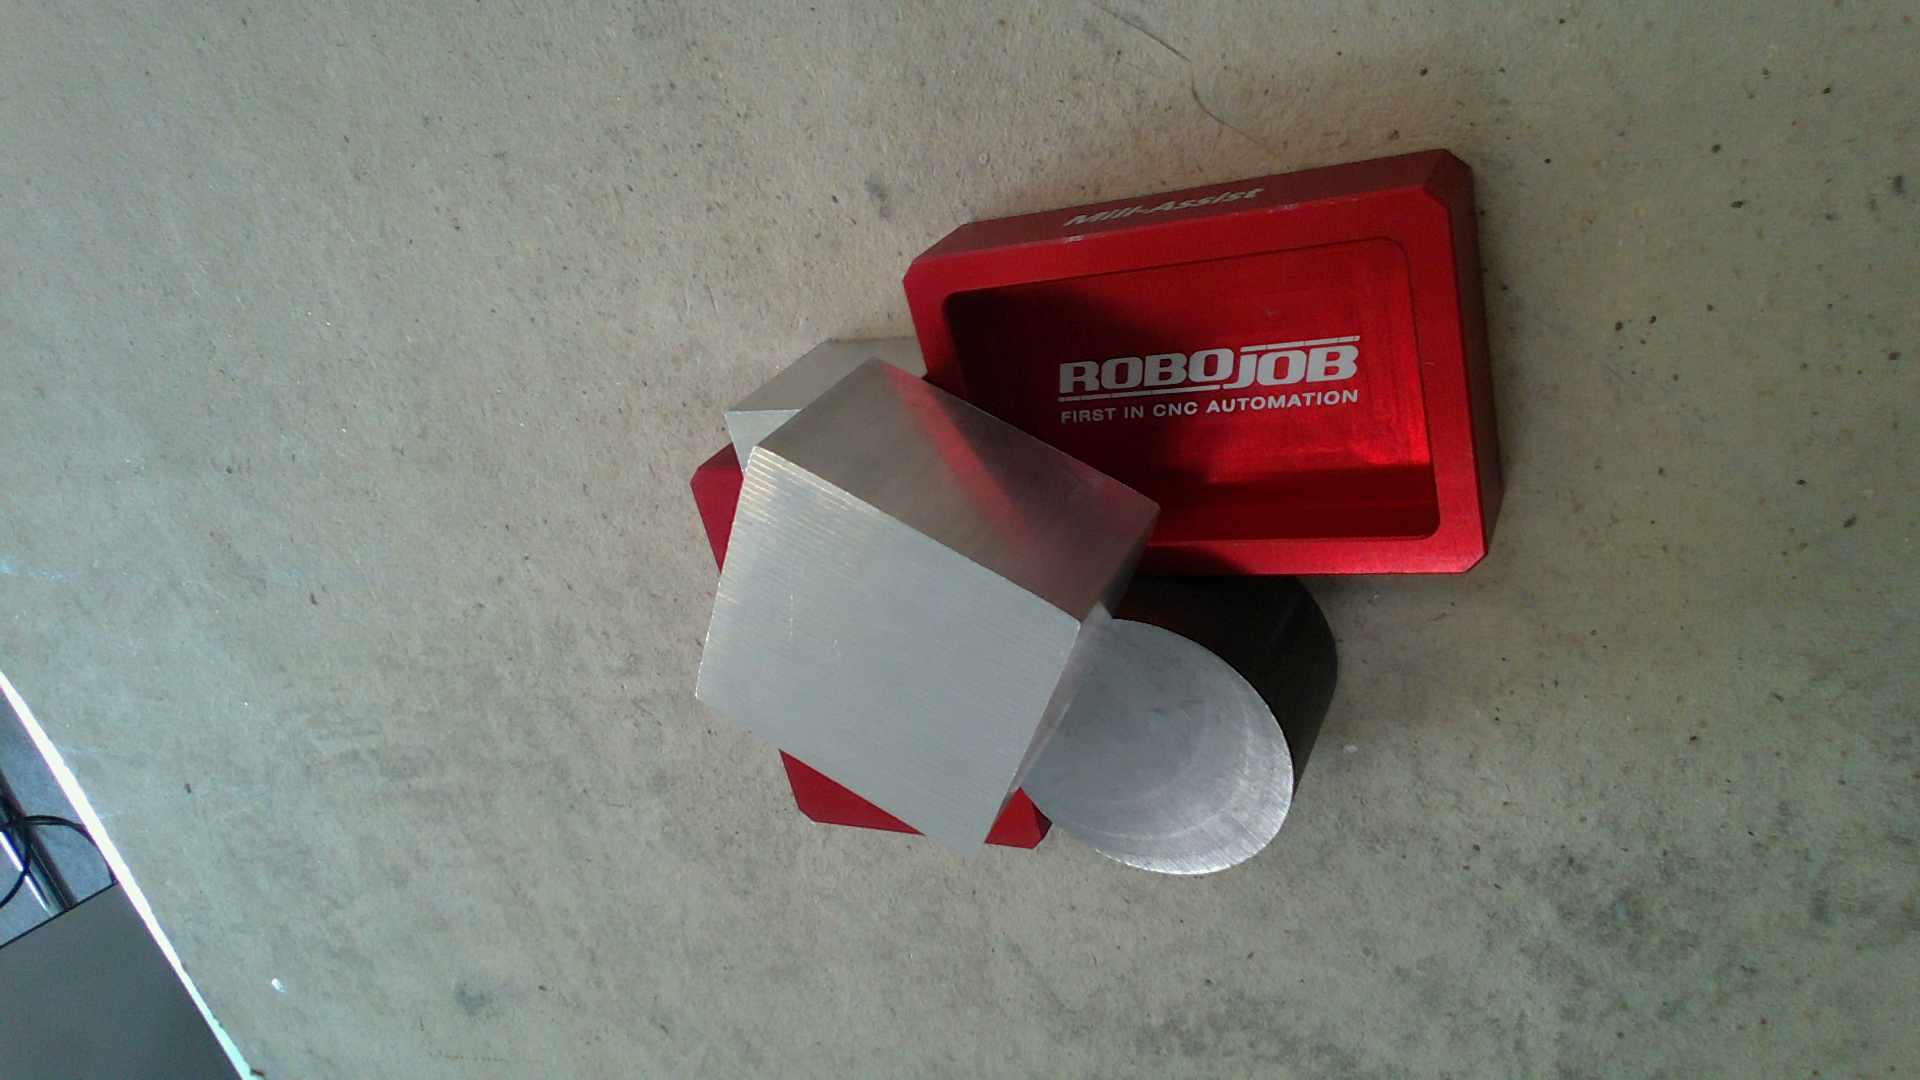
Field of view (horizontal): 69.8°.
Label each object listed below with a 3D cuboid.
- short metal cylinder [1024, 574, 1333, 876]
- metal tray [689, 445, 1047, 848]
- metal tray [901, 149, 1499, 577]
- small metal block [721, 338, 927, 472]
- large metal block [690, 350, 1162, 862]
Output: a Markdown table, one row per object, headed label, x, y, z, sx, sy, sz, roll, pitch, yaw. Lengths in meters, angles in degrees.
| label | x | y | z | sx | sy | sz | roll | pitch | yaw |
| --- | --- | --- | --- | --- | --- | --- | --- | --- | --- |
| short metal cylinder | 0.056 | 0.043 | 0.373 | 0.080 | 0.050 | 0.080 | 14 | 125 | 21 |
| metal tray | -0.021 | 0.030 | 0.421 | 0.090 | 0.030 | 0.130 | 1 | 119 | 28 |
| metal tray | 0.058 | -0.037 | 0.335 | 0.130 | 0.030 | 0.090 | -2 | 118 | 29 |
| small metal block | -0.027 | -0.034 | 0.371 | 0.050 | 0.050 | 0.025 | 1 | 119 | 28 |
| large metal block | -0.010 | 0.015 | 0.325 | 0.080 | 0.050 | 0.080 | 29 | 128 | 10 |
